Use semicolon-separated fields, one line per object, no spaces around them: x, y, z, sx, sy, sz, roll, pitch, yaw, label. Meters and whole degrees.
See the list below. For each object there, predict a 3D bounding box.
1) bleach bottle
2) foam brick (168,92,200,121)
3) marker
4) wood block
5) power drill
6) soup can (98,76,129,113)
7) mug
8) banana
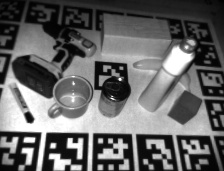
0.134;-0.034;0.532;0.067;0.251;0.103;28;59;7;bleach bottle
0.200;0.053;0.600;0.052;0.078;0.051;31;58;10;foam brick
-0.227;0.040;0.554;0.020;0.019;0.120;-26;70;-20;marker
0.071;-0.164;0.686;0.207;0.091;0.089;2;62;-10;wood block
-0.161;-0.095;0.623;0.184;0.057;0.187;30;59;2;power drill
0.001;0.020;0.554;0.068;0.102;0.067;6;56;-8;soup can
-0.108;0.026;0.546;0.093;0.081;0.118;42;65;11;mug
0.150;-0.072;0.676;0.198;0.039;0.074;17;73;-4;banana
